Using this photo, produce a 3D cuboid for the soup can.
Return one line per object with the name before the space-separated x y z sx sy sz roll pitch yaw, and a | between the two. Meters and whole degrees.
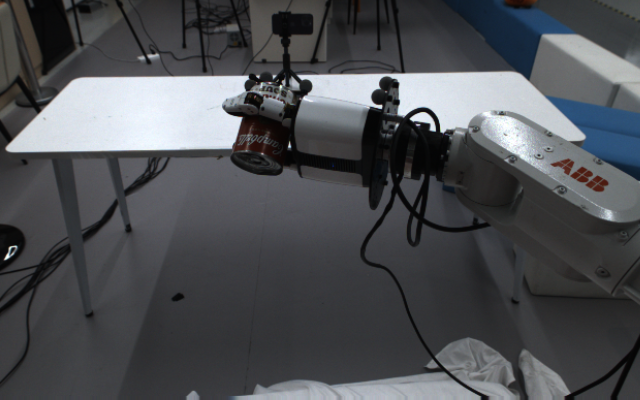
soup can | -0.069 -0.090 0.620 0.067 0.067 0.101 9 71 9
